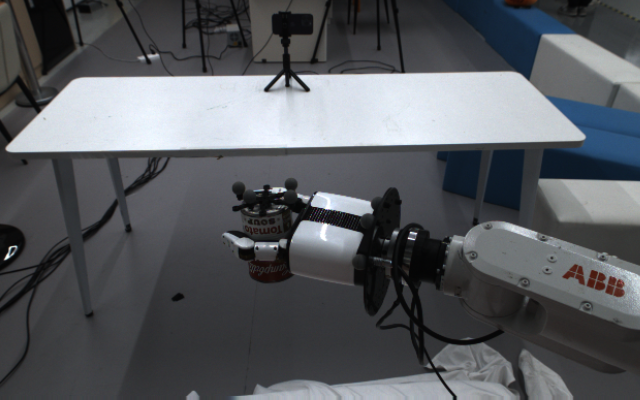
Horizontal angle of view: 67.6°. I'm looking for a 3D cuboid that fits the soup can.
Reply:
[{"bbox_3d":[-0.065,0.050,0.642,0.067,0.101,0.067,-4,26,2],"label":"soup can"}]
